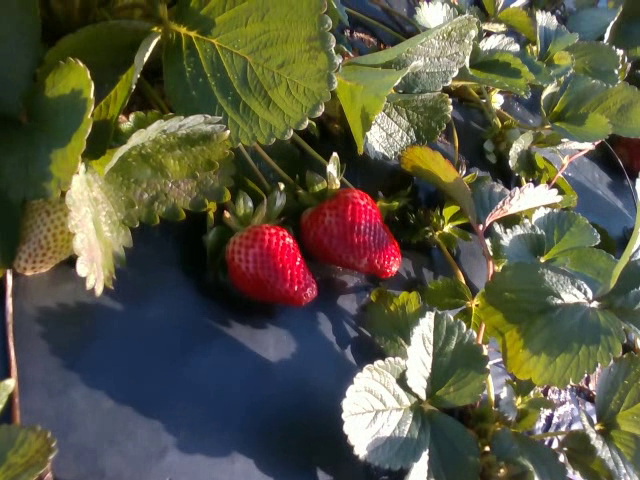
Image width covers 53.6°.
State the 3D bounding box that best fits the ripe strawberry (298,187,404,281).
[{"bbox_3d":[0.020,0.000,0.312,0.052,0.058,0.046,-41,-19,-20],"label":"ripe strawberry"}]

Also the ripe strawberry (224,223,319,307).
[{"bbox_3d":[-0.020,0.014,0.276,0.052,0.043,0.036,37,-15,14],"label":"ripe strawberry"}]
